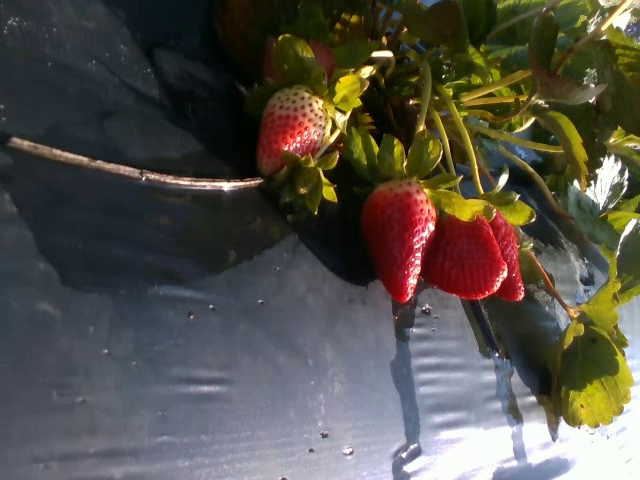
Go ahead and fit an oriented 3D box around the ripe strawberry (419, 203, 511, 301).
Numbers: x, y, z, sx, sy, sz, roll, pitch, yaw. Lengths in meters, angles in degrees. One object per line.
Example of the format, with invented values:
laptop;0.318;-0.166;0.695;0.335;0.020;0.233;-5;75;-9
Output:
ripe strawberry;0.055;0.005;0.230;0.030;0.037;0.039;29;13;-42

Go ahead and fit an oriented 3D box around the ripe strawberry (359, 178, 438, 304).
ripe strawberry;0.030;0.000;0.215;0.023;0.046;0.032;-11;-18;44

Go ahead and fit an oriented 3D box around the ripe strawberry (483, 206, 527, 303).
ripe strawberry;0.072;0.010;0.252;0.035;0.041;0.034;9;-50;-44
